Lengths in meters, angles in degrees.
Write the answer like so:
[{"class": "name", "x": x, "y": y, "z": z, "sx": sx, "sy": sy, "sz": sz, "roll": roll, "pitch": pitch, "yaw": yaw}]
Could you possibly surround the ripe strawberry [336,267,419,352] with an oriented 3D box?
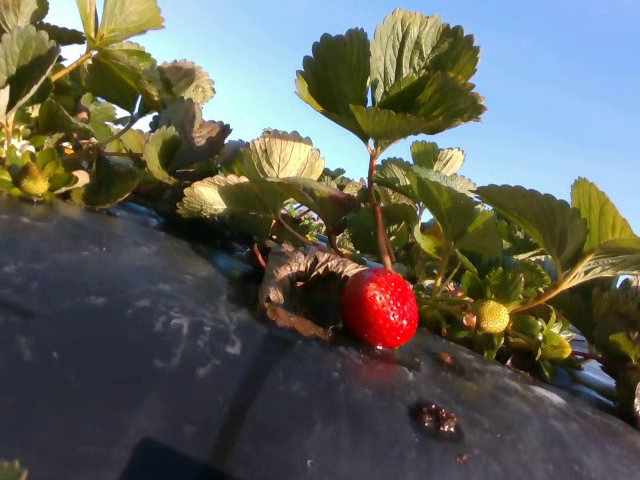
[{"class": "ripe strawberry", "x": 0.022, "y": 0.026, "z": 0.235, "sx": 0.046, "sy": 0.038, "sz": 0.054, "roll": 37, "pitch": 1, "yaw": 21}]
